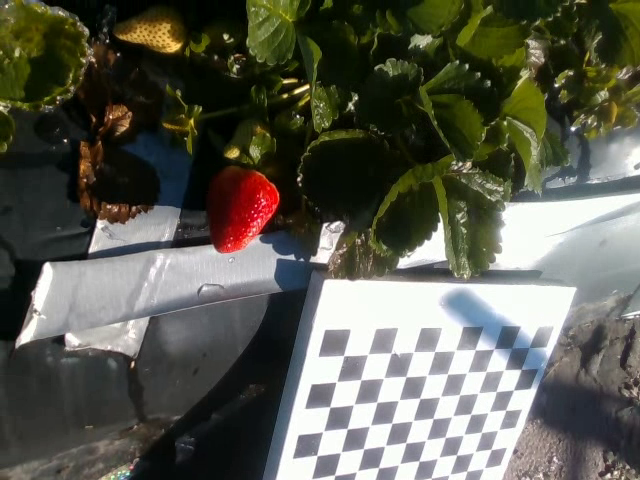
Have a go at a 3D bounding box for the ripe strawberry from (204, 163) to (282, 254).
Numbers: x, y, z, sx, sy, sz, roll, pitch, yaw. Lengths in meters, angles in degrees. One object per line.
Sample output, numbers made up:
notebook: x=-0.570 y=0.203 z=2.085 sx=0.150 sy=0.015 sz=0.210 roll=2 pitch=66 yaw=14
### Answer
ripe strawberry: x=-0.055 y=-0.014 z=0.414 sx=0.058 sy=0.065 sz=0.061 roll=-17 pitch=-43 yaw=33
